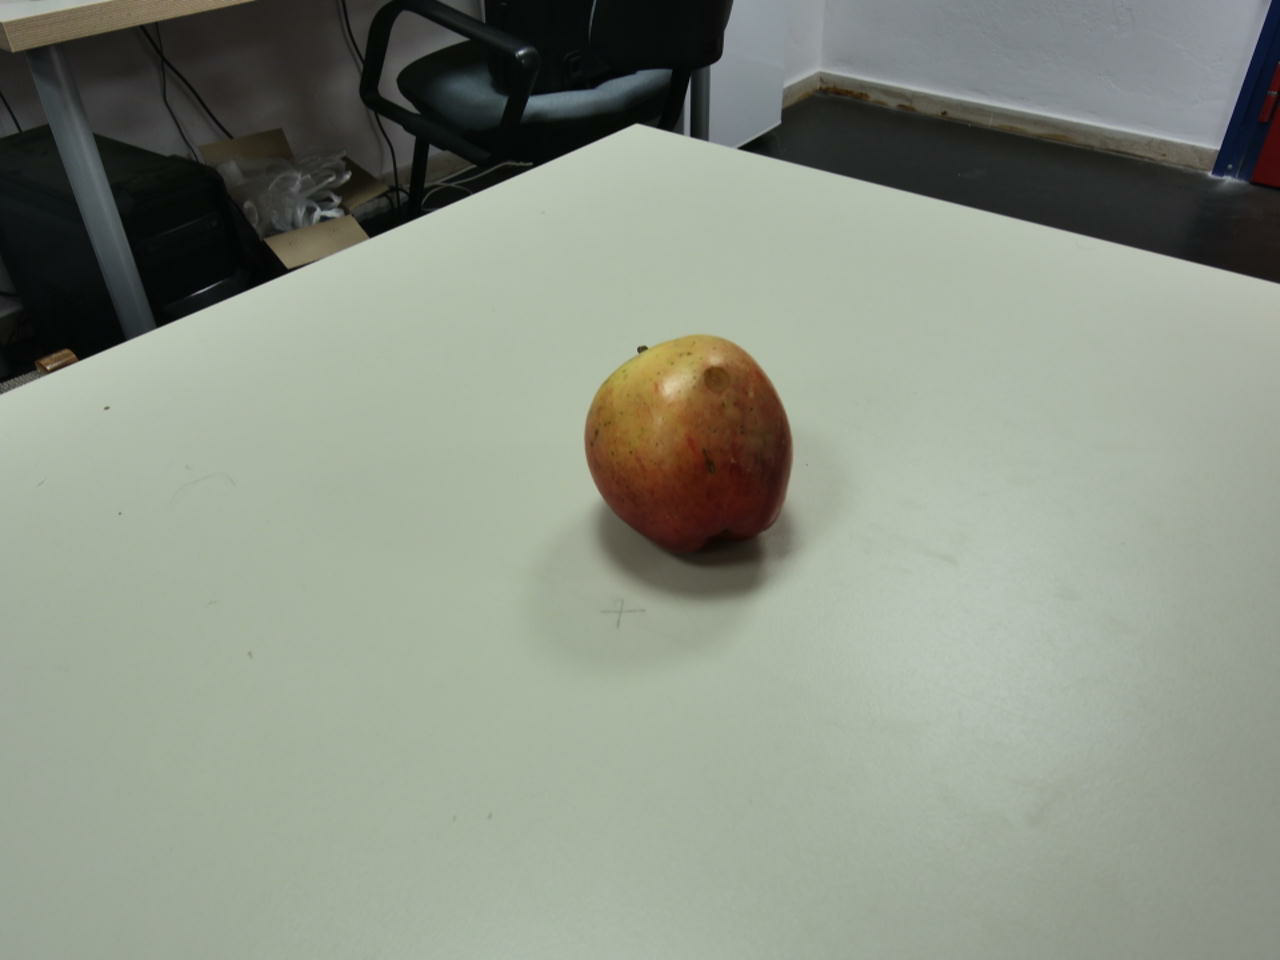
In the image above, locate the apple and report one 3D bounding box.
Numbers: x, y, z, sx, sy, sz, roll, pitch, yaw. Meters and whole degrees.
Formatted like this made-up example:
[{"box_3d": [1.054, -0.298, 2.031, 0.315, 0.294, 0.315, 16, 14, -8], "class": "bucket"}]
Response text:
[{"box_3d": [0.020, -0.017, 0.416, 0.086, 0.084, 0.093, 1, 36, 4], "class": "apple"}]
